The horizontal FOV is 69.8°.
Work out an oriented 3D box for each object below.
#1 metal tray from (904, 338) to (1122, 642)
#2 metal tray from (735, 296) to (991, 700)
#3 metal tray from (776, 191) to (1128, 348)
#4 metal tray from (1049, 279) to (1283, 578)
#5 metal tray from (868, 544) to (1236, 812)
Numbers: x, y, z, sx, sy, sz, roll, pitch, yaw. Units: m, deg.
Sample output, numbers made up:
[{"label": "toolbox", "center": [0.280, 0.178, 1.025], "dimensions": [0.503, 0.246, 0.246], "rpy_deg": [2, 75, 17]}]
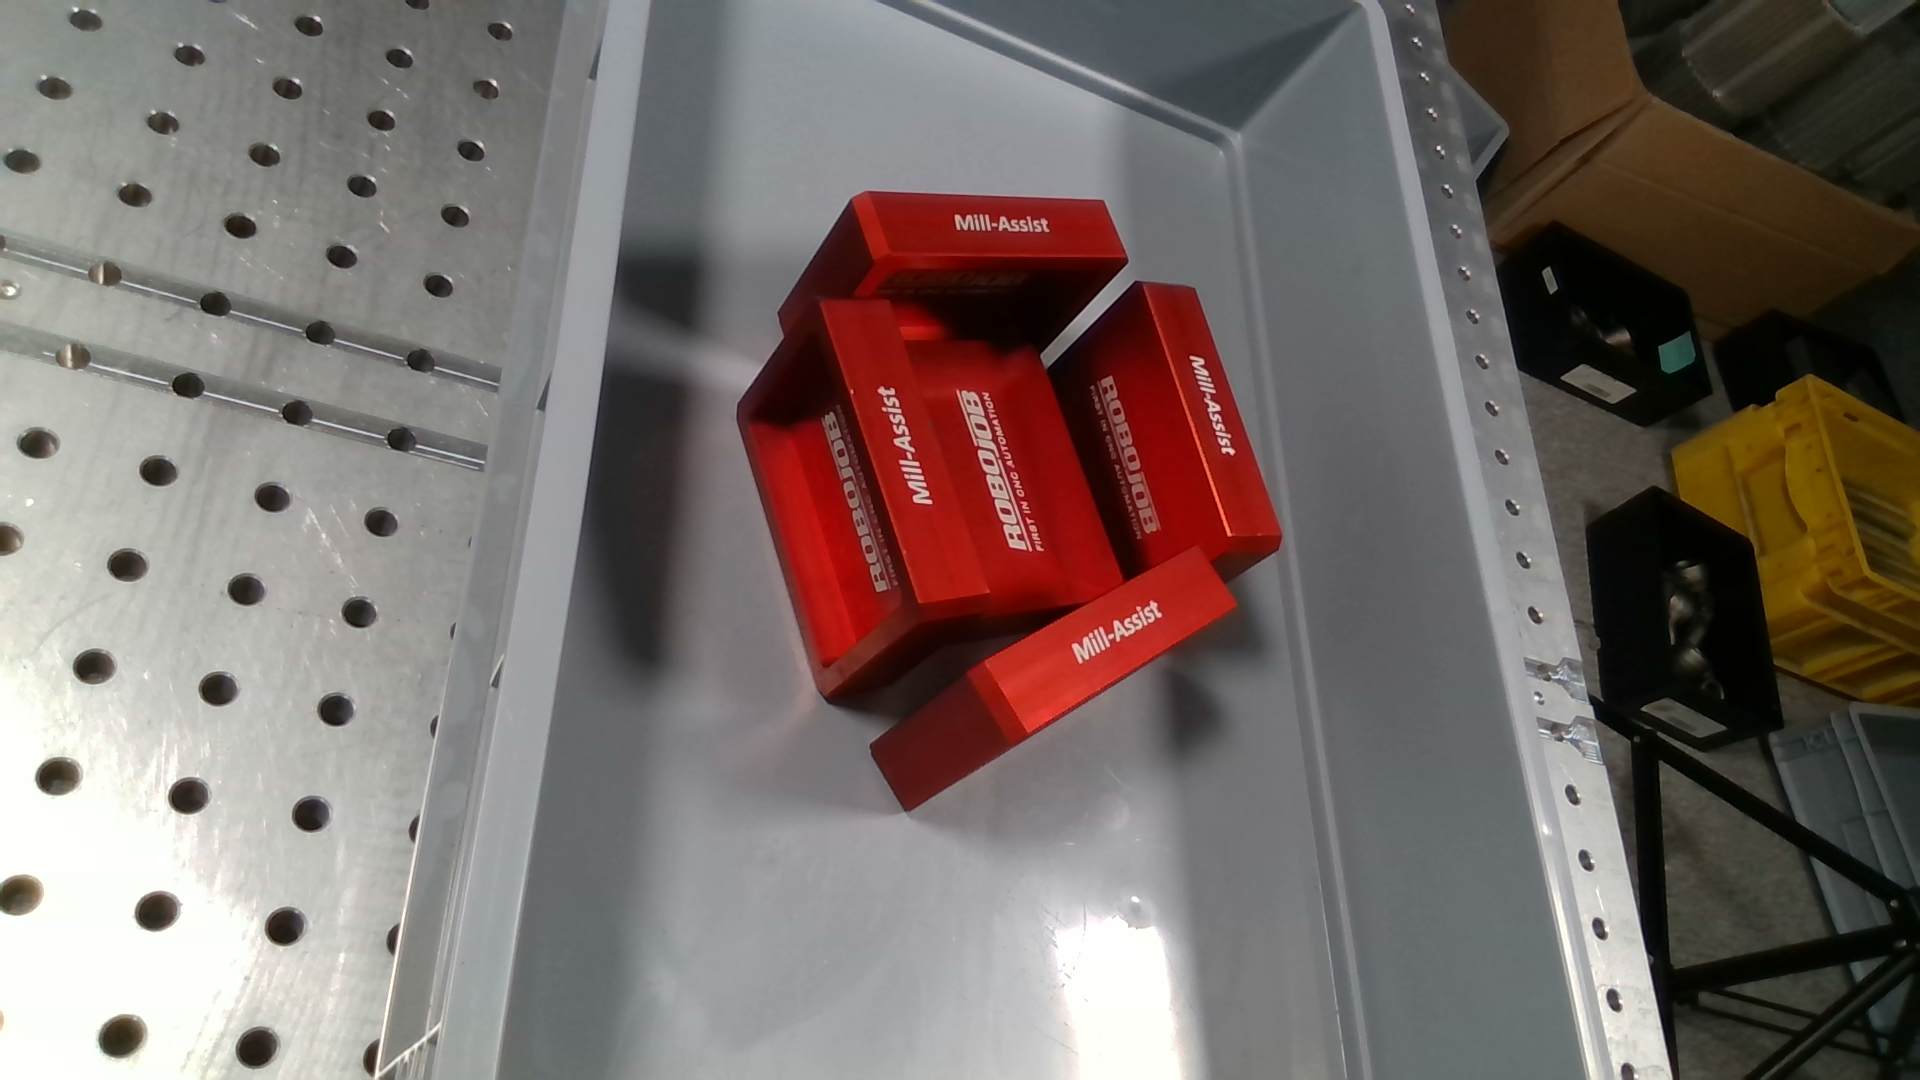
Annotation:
[{"label": "metal tray", "center": [0.010, -0.024, 0.599], "dimensions": [0.090, 0.030, 0.130], "rpy_deg": [-6, 69, -34]}, {"label": "metal tray", "center": [-0.041, -0.015, 0.525], "dimensions": [0.030, 0.090, 0.130], "rpy_deg": [-7, 69, -34]}, {"label": "metal tray", "center": [-0.003, -0.110, 0.599], "dimensions": [0.130, 0.090, 0.030], "rpy_deg": [-7, 69, -34]}, {"label": "metal tray", "center": [0.085, -0.038, 0.615], "dimensions": [0.030, 0.090, 0.130], "rpy_deg": [-2, 66, -32]}, {"label": "metal tray", "center": [0.037, 0.053, 0.537], "dimensions": [0.130, 0.090, 0.030], "rpy_deg": [-25, 79, -38]}]
